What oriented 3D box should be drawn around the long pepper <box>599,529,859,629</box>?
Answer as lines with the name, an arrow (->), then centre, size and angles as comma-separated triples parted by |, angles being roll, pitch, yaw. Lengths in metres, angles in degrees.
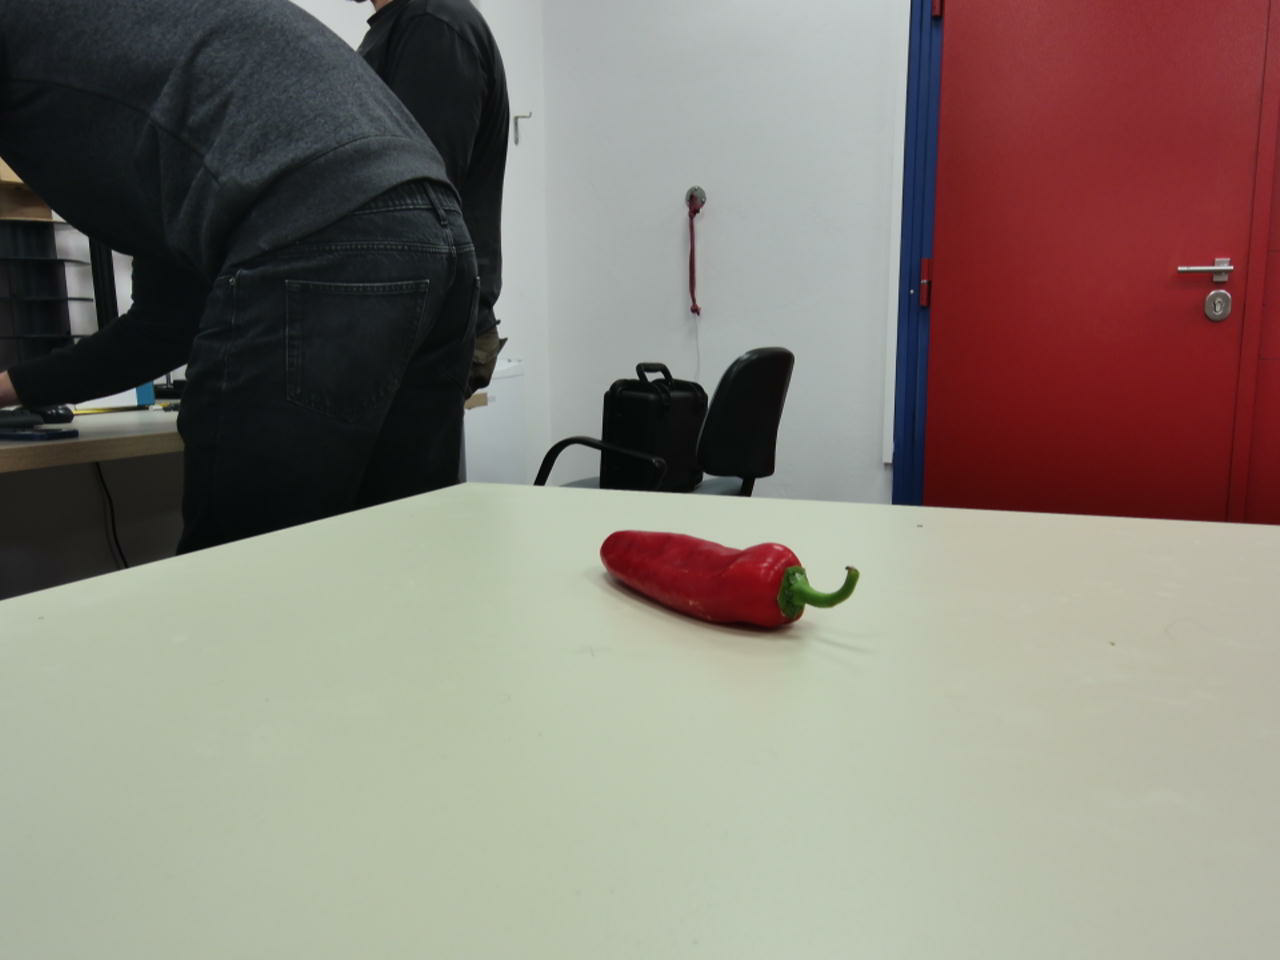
long pepper -> 0.032, 0.049, 0.547 | 0.050, 0.043, 0.211 | -4, 7, -34
